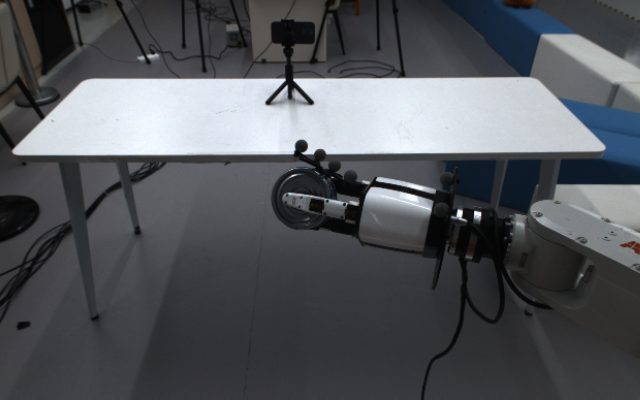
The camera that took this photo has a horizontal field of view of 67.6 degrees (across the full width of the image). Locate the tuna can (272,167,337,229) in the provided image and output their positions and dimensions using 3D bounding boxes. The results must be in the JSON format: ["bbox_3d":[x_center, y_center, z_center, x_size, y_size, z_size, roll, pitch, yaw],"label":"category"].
[{"bbox_3d":[-0.021,-0.003,0.655,0.085,0.085,0.034,12,4,14],"label":"tuna can"}]
